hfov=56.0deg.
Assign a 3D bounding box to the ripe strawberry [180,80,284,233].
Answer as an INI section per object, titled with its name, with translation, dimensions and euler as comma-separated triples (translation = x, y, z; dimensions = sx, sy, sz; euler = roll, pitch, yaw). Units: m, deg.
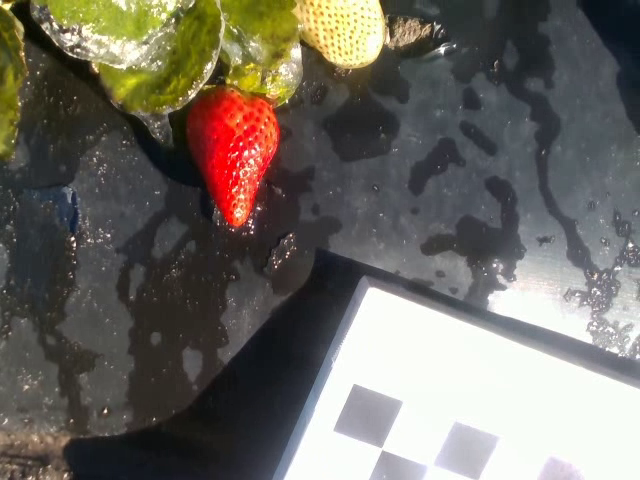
[ripe strawberry]
translation = -0.032, -0.029, 0.226
dimensions = 0.041, 0.052, 0.040
euler = 4, 6, -6
